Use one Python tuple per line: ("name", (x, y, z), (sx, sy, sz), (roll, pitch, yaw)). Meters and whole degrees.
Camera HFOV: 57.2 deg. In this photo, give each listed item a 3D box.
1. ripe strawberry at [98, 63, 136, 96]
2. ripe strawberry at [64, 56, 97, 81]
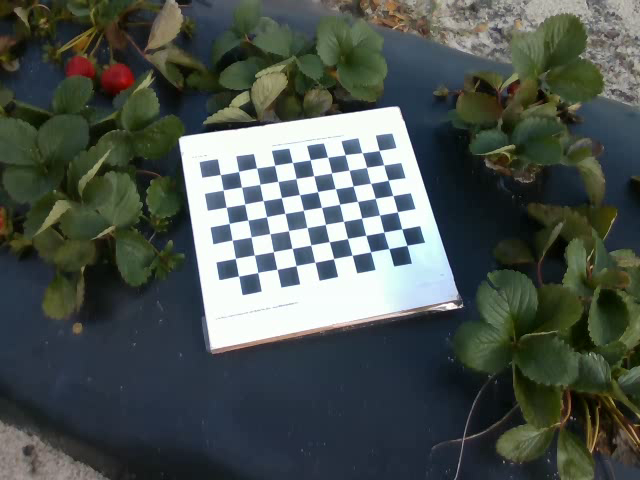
("ripe strawberry", (-0.313, -0.250, 0.900), (0.057, 0.051, 0.064), (-28, 38, -18))
("ripe strawberry", (-0.374, -0.260, 0.906), (0.048, 0.041, 0.056), (4, 41, -4))
